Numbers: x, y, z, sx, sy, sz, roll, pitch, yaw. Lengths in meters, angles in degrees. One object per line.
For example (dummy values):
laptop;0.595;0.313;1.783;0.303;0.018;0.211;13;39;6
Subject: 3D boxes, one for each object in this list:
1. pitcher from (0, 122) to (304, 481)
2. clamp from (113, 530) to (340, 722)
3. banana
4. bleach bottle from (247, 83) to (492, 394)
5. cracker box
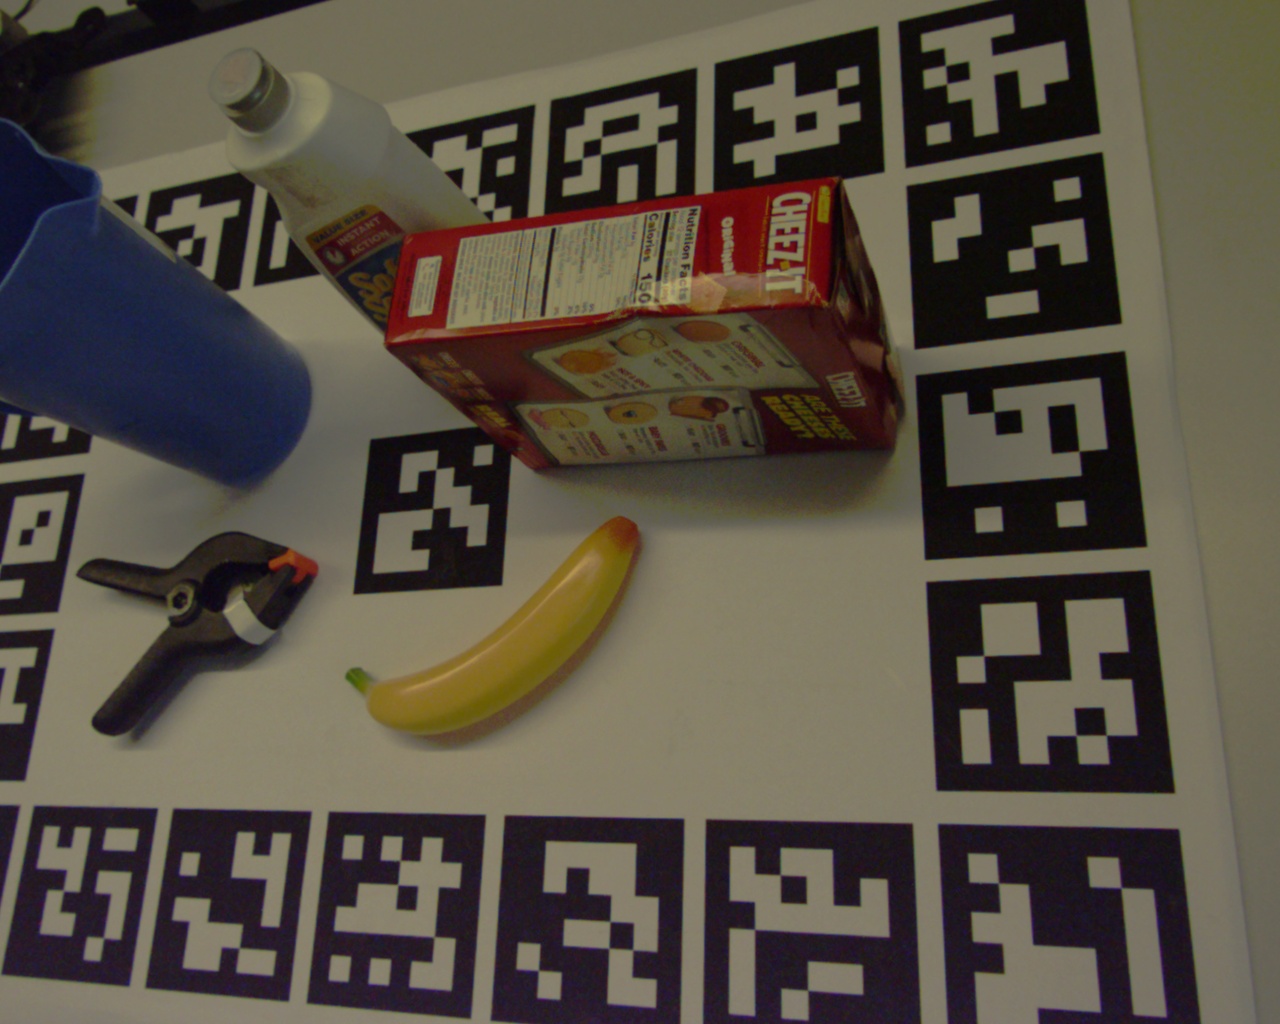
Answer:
pitcher;-0.325;-0.105;0.695;0.189;0.240;0.134;-22;64;10
clamp;-0.276;0.059;0.755;0.166;0.036;0.122;-21;63;13
banana;-0.068;0.066;0.673;0.198;0.038;0.075;-37;61;6
bleach bottle;-0.141;-0.152;0.658;0.103;0.248;0.068;-5;68;21
cracker box;0.011;-0.085;0.601;0.216;0.162;0.072;-4;67;23
